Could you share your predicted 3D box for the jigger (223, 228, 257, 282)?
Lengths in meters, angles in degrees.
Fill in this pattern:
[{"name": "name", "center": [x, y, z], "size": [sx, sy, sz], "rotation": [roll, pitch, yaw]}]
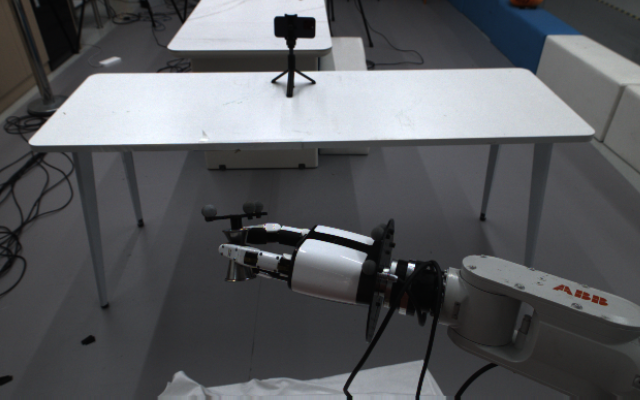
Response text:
[{"name": "jigger", "center": [-0.110, 0.073, 0.654], "size": [0.043, 0.071, 0.043], "rotation": [-4, 1, 0]}]
